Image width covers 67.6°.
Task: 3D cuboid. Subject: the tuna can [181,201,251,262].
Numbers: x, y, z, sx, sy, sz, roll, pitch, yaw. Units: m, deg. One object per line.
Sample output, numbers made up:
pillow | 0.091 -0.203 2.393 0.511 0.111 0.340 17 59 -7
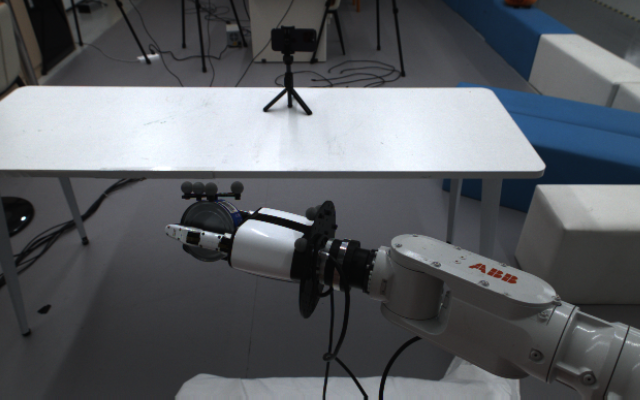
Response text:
tuna can | -0.149 0.042 0.675 0.085 0.085 0.034 15 9 18
